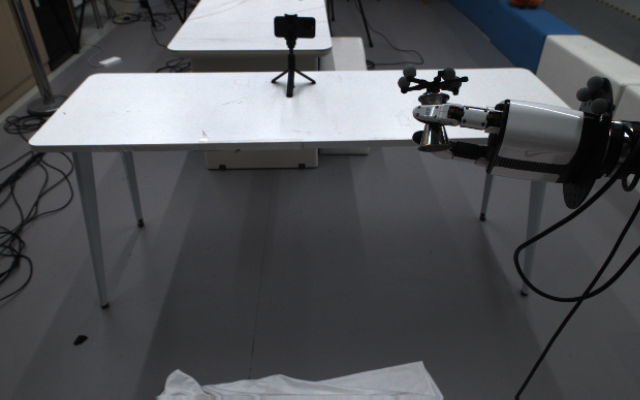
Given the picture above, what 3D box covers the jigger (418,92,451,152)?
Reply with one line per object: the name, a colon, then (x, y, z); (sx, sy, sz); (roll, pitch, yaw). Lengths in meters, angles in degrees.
jigger: (0.147, -0.101, 0.628); (0.043, 0.071, 0.043); (1, -5, 0)
